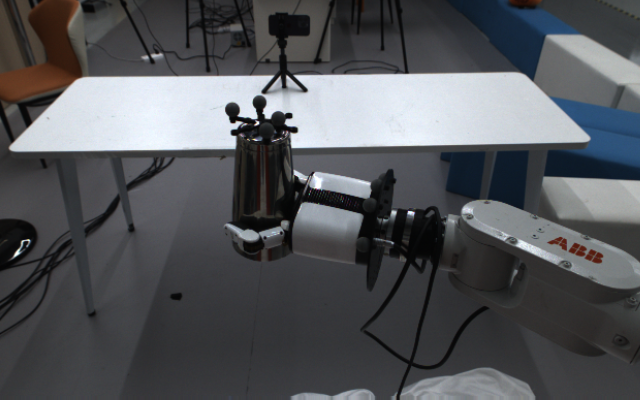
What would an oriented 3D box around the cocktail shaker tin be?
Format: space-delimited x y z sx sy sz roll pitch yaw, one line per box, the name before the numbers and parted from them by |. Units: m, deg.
cocktail shaker tin | -0.072 -0.015 0.631 0.093 0.170 0.093 3 34 -2
